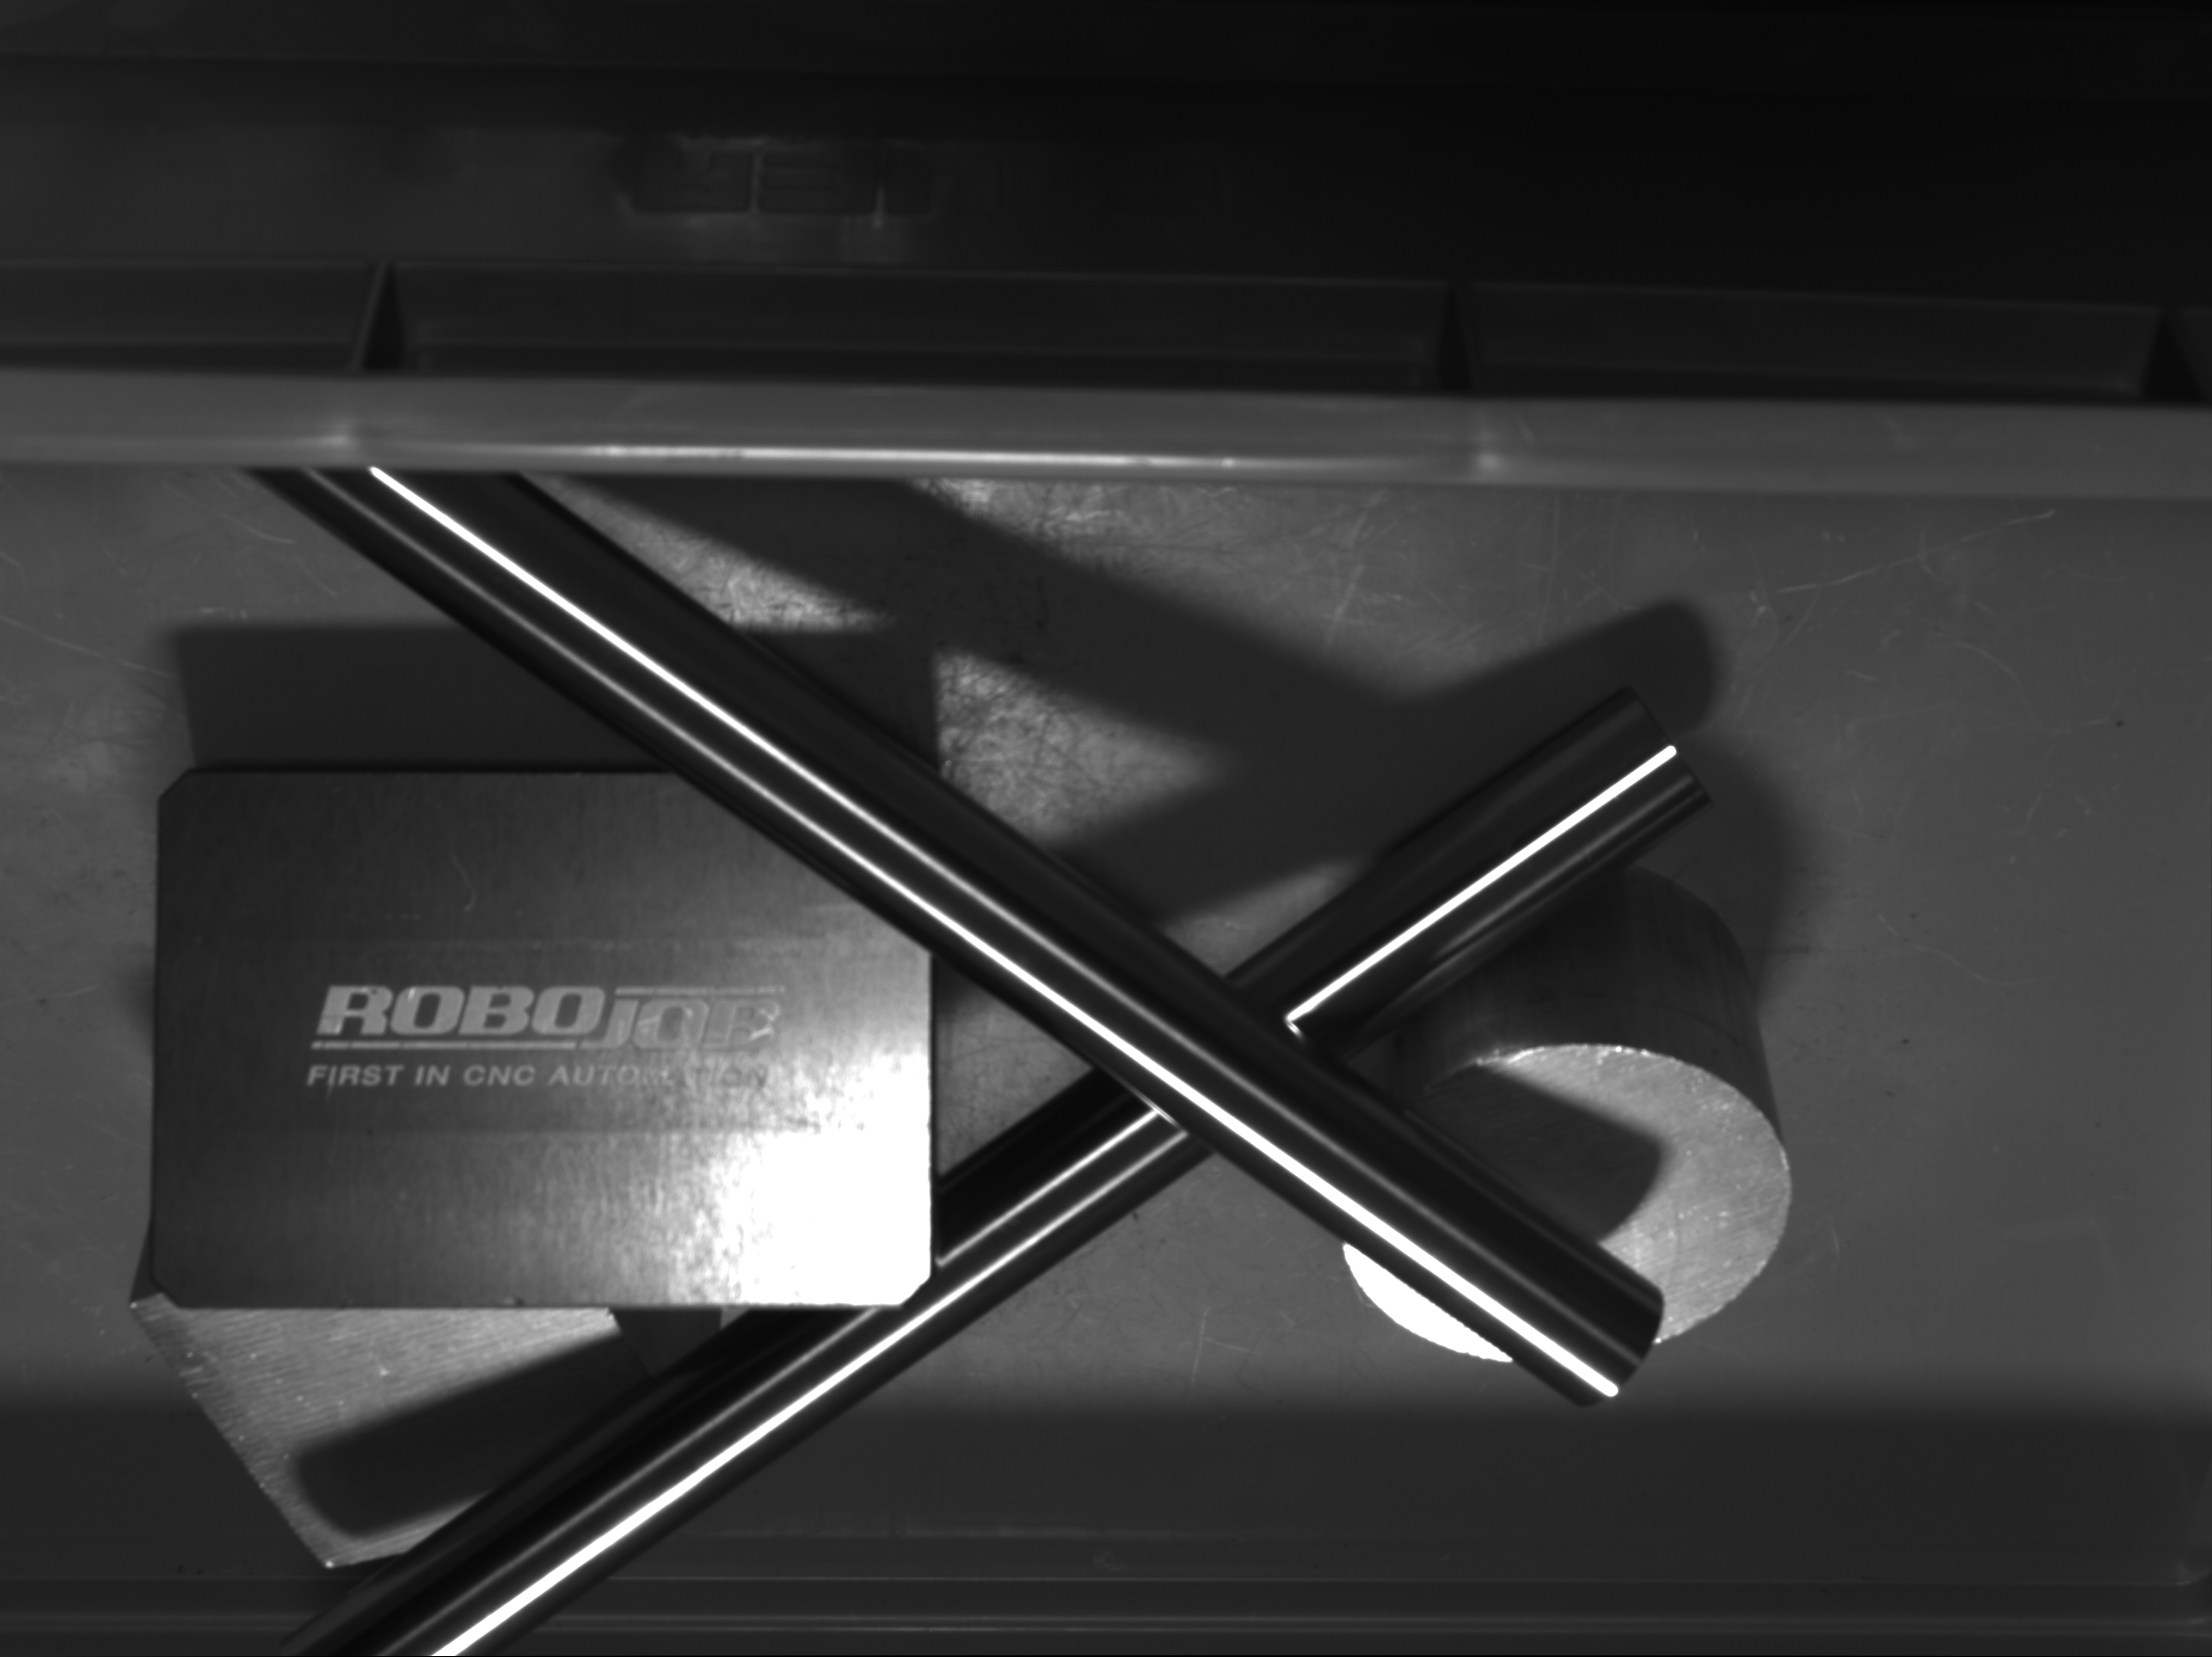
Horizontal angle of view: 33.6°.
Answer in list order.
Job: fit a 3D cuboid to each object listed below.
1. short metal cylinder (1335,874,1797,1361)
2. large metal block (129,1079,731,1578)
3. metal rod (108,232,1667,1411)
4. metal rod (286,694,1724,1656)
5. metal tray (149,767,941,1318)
[{"bbox_3d":[0.081,0.052,0.666,0.080,0.050,0.080,-1,130,-1],"label":"short metal cylinder"},{"bbox_3d":[-0.123,0.088,0.686,0.080,0.050,0.080,-15,129,11],"label":"large metal block"},{"bbox_3d":[-0.029,0.004,0.601,0.300,0.025,0.025,36,121,-13],"label":"metal rod"},{"bbox_3d":[-0.022,0.073,0.650,0.300,0.025,0.025,-36,123,8],"label":"metal rod"},{"bbox_3d":[-0.093,0.037,0.625,0.130,0.030,0.090,1,86,-1],"label":"metal tray"}]
